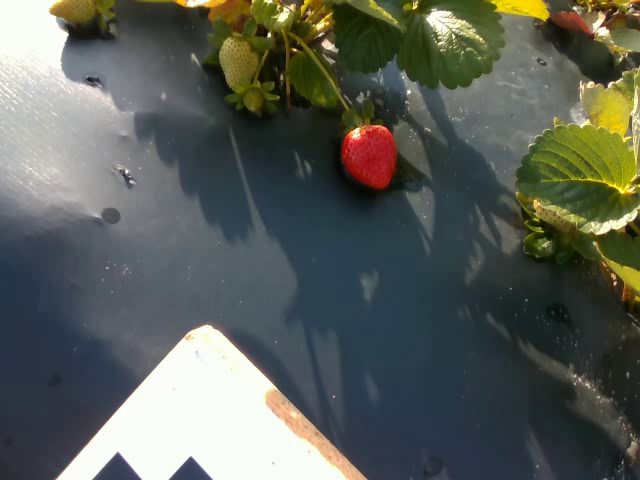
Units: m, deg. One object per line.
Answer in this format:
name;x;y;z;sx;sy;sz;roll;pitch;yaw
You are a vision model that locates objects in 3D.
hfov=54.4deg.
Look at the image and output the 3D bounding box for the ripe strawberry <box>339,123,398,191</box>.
ripe strawberry;0.028;-0.039;0.309;0.030;0.045;0.033;-19;-34;17
